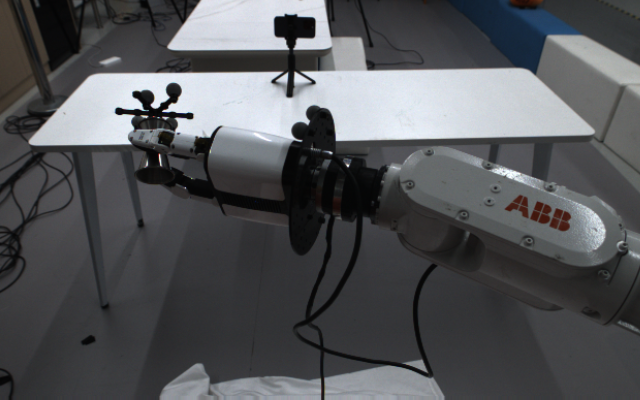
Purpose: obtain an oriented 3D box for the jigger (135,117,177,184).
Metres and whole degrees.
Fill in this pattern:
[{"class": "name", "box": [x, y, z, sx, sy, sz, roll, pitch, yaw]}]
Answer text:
[{"class": "jigger", "box": [-0.192, -0.057, 0.566, 0.043, 0.043, 0.071, -4, 67, -9]}]
